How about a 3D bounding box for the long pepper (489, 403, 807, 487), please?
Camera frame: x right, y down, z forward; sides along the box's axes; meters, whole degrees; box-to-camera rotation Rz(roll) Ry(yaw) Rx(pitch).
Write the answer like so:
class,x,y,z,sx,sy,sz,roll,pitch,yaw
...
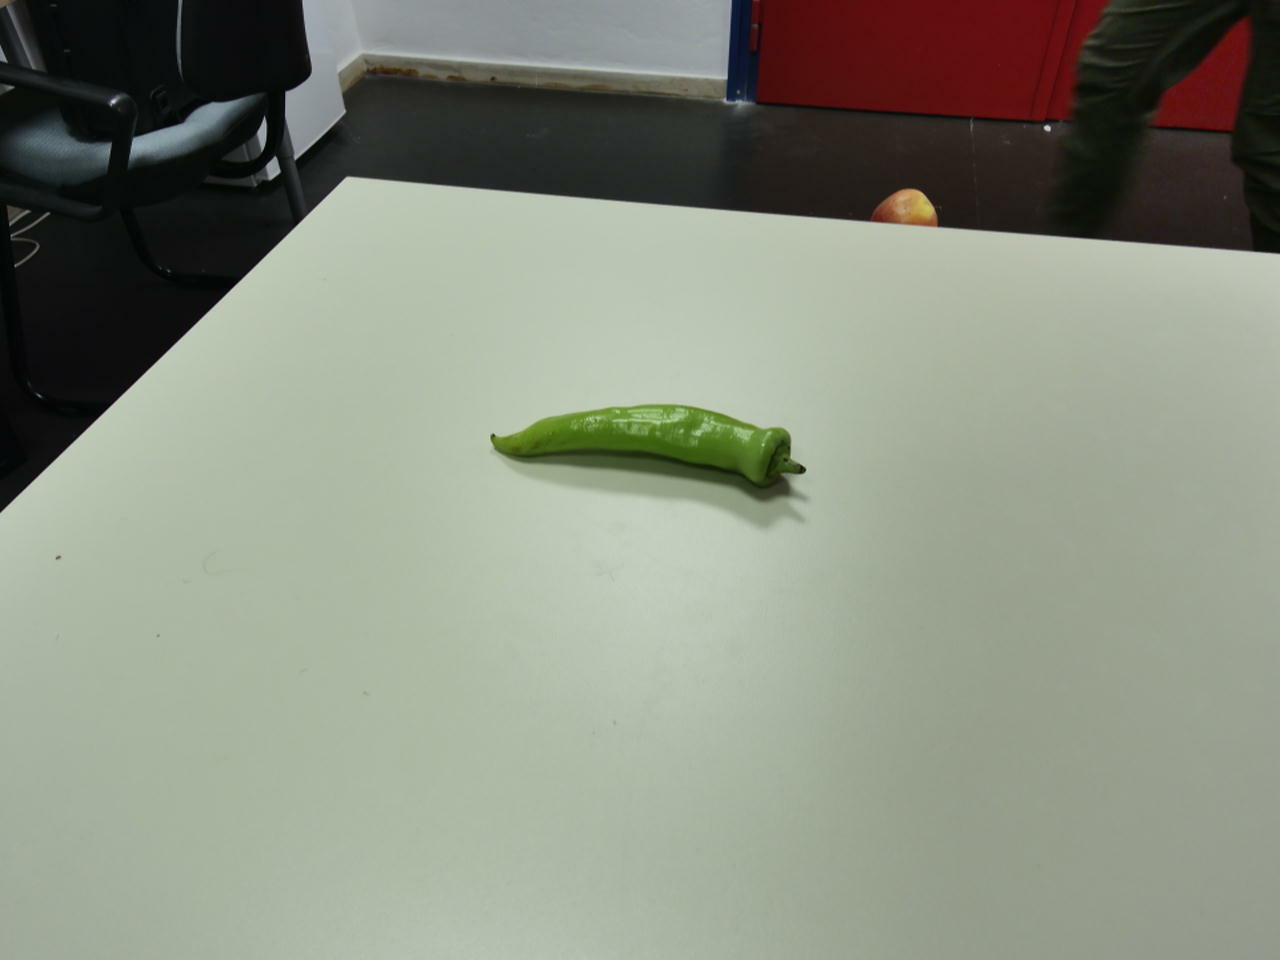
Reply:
class,x,y,z,sx,sy,sz,roll,pitch,yaw
long pepper,0.004,-0.027,0.602,0.197,0.038,0.046,9,40,12
